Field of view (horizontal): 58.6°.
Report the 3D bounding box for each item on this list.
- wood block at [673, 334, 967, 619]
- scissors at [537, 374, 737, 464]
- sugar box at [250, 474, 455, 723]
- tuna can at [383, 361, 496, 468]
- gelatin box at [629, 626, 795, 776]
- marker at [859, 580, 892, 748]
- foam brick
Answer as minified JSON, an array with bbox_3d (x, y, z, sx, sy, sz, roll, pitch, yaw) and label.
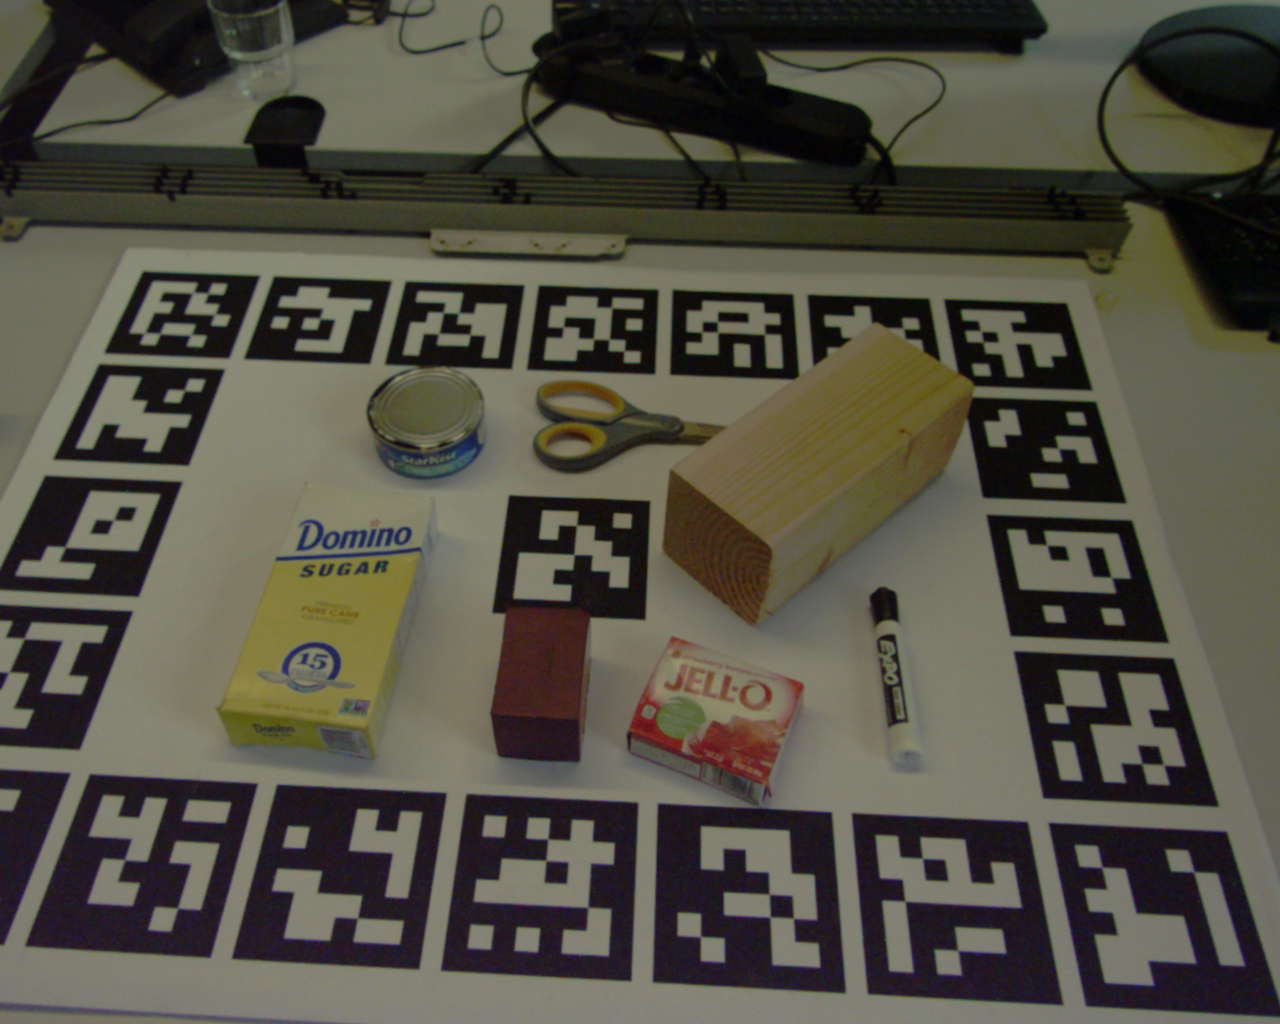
[{"bbox_3d":[0.130,-0.029,0.827,0.205,0.090,0.091,-35,60,-24],"label":"wood block"},{"bbox_3d":[0.017,-0.066,0.899,0.204,0.016,0.088,8,53,9],"label":"scissors"},{"bbox_3d":[-0.193,0.056,0.792,0.093,0.045,0.176,7,53,5],"label":"sugar box"},{"bbox_3d":[-0.156,-0.076,0.894,0.086,0.033,0.086,-1,53,0],"label":"tuna can"},{"bbox_3d":[0.047,0.123,0.746,0.090,0.030,0.073,18,56,14],"label":"gelatin box"},{"bbox_3d":[0.159,0.099,0.767,0.020,0.019,0.121,4,55,3],"label":"marker"},{"bbox_3d":[-0.056,0.100,0.746,0.053,0.051,0.078,5,54,4],"label":"foam brick"}]
